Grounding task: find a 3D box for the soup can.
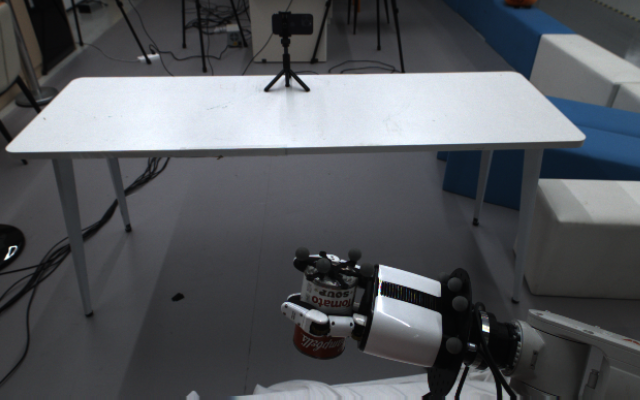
[{"bbox_3d":[0.008,0.135,0.600,0.067,0.101,0.067,8,19,-3],"label":"soup can"}]
